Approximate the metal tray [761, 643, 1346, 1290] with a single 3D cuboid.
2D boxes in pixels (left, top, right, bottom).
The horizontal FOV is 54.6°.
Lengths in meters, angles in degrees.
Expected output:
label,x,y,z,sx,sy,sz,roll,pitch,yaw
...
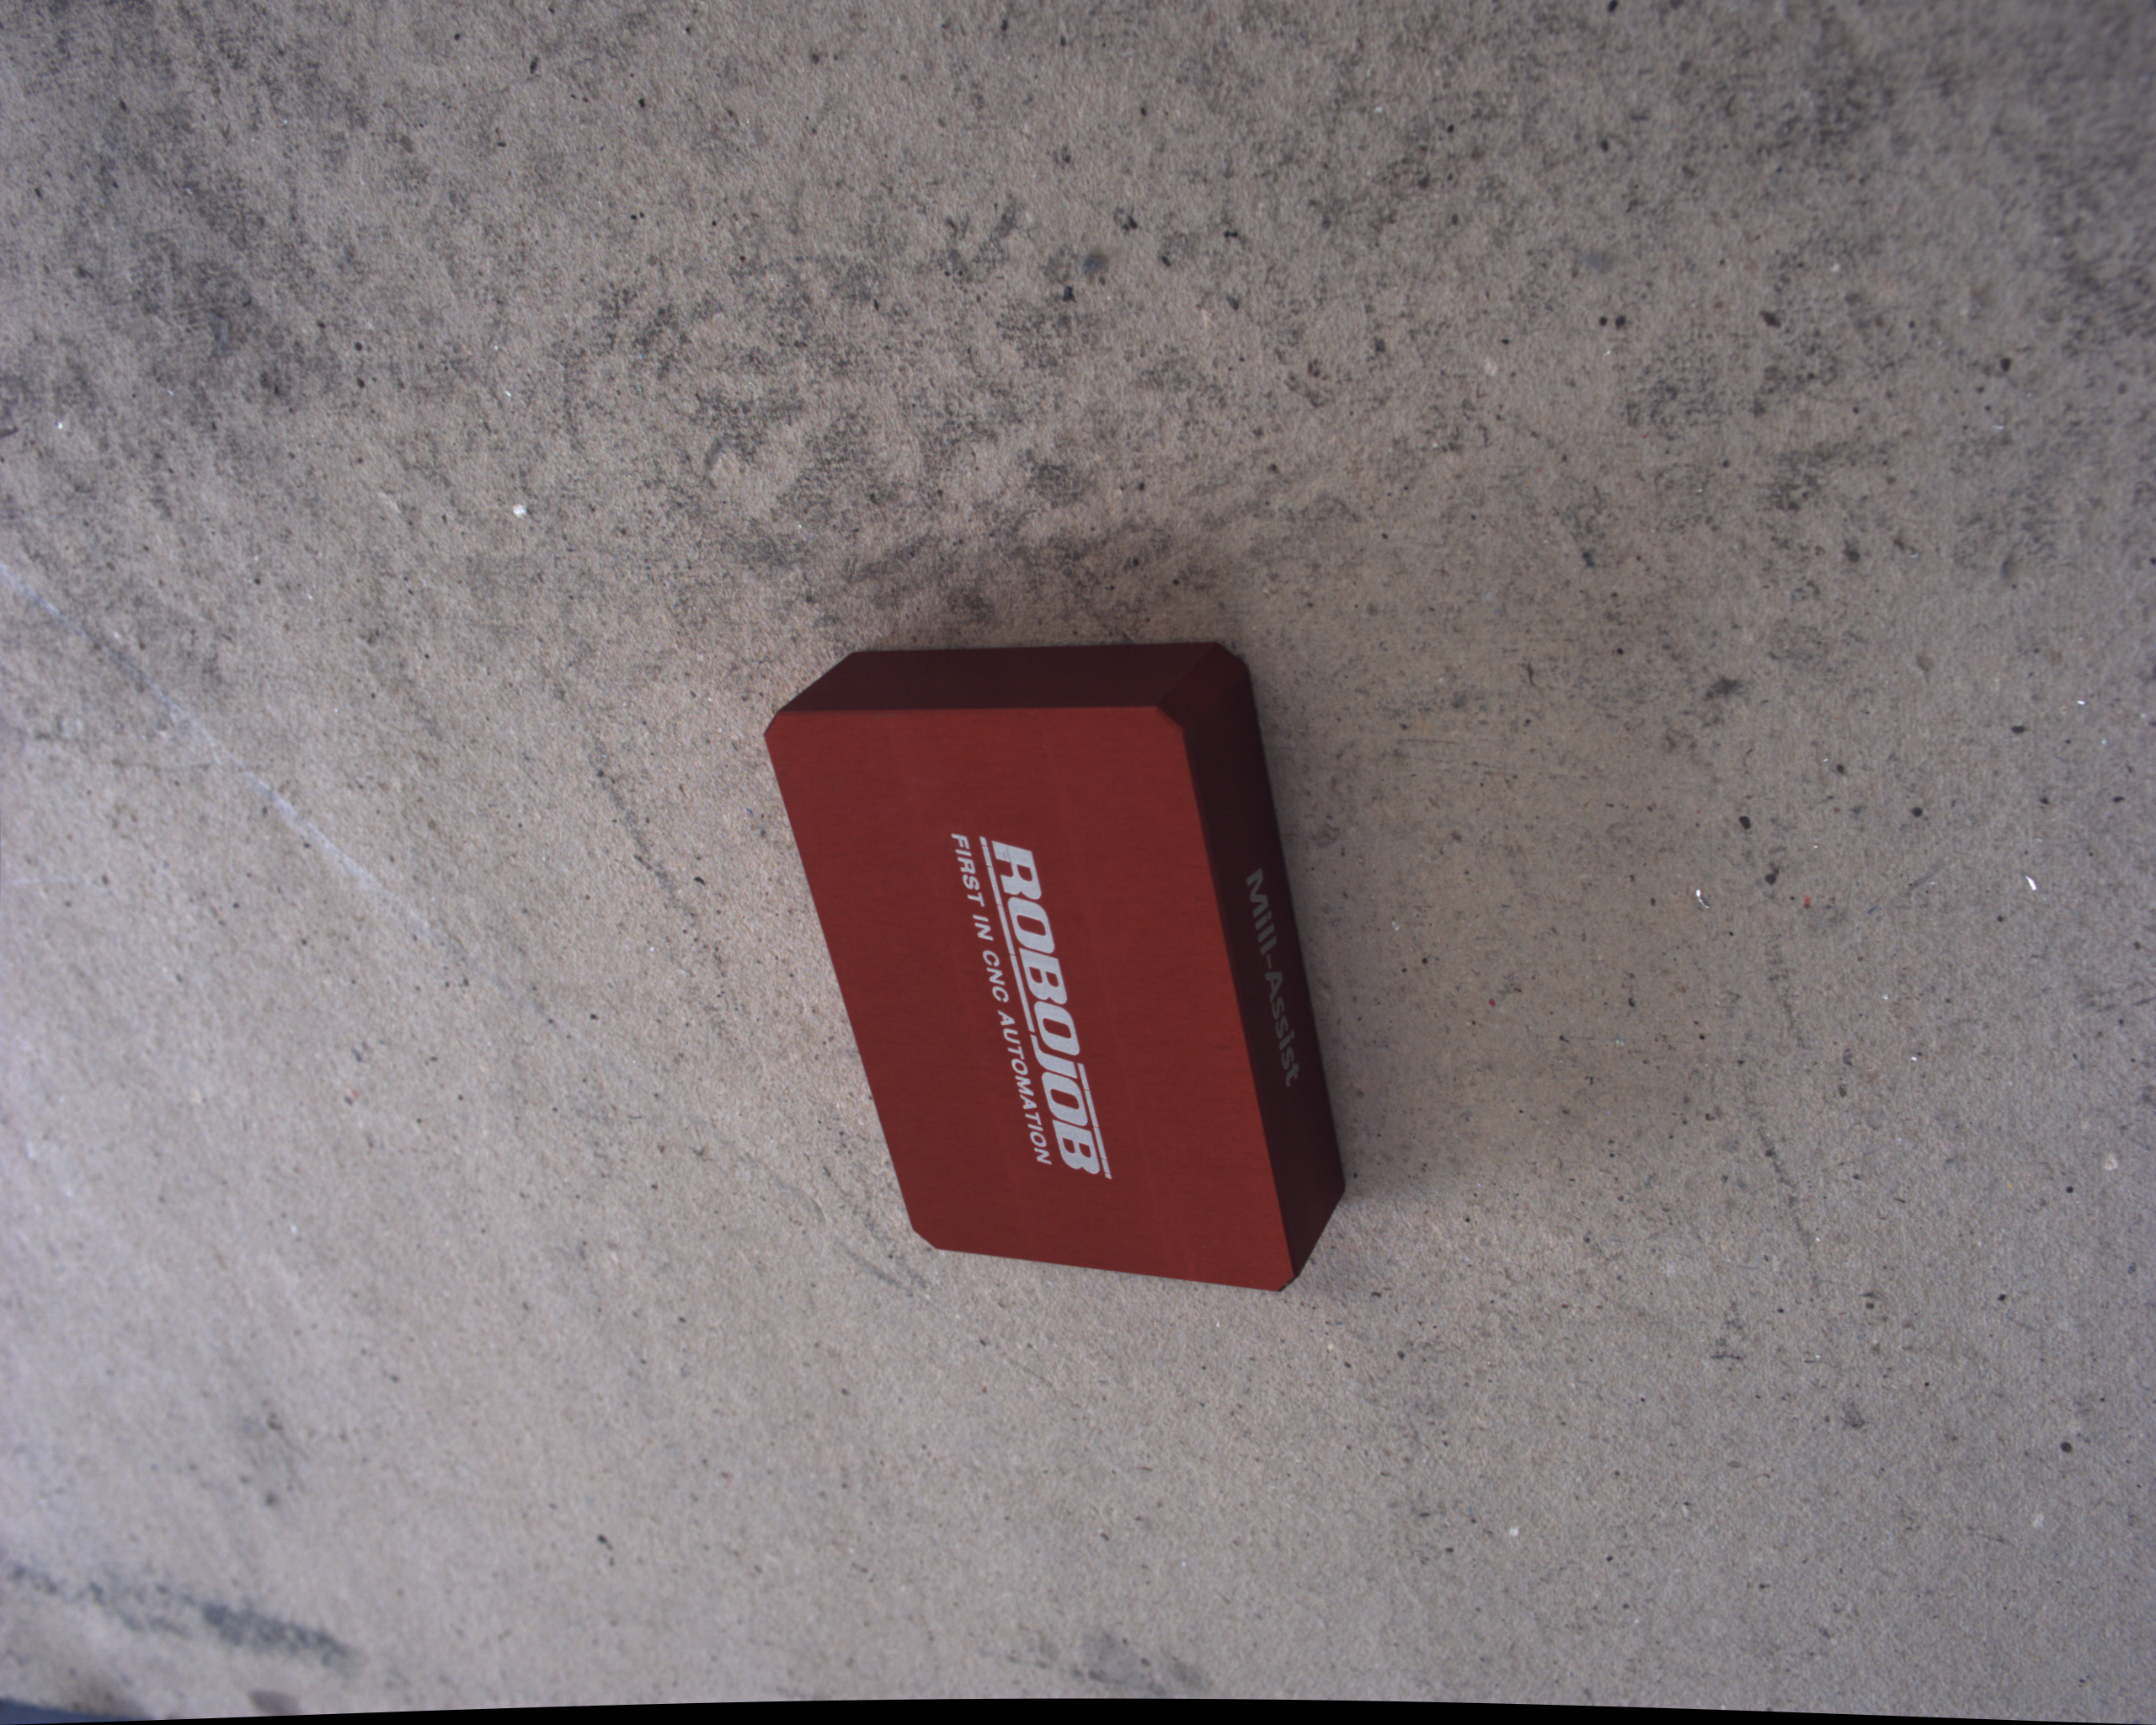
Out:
label,x,y,z,sx,sy,sz,roll,pitch,yaw
metal tray,-0.003,0.022,0.420,0.090,0.030,0.129,1,120,27
